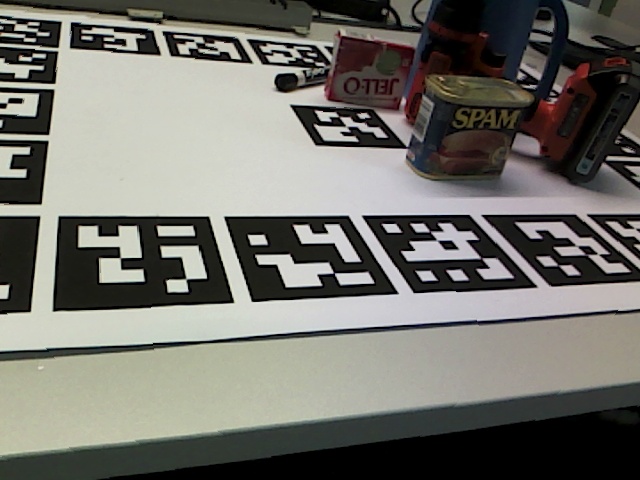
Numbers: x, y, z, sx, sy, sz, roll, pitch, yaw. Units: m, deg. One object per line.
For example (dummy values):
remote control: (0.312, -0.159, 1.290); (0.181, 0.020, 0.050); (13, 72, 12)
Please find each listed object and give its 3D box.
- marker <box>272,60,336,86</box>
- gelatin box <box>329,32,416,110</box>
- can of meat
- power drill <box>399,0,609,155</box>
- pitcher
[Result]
marker: (-0.010, -0.205, 0.751); (0.120, 0.019, 0.020); (-23, 48, -39)
gelatin box: (0.061, -0.193, 0.714); (0.089, 0.073, 0.030); (6, 39, -12)
can of meat: (0.136, -0.104, 0.595); (0.101, 0.083, 0.058); (-2, 35, -21)
power drill: (0.190, -0.181, 0.640); (0.187, 0.184, 0.057); (24, 38, 6)
pitcher: (0.210, -0.262, 0.722); (0.189, 0.242, 0.133); (12, 37, 11)
